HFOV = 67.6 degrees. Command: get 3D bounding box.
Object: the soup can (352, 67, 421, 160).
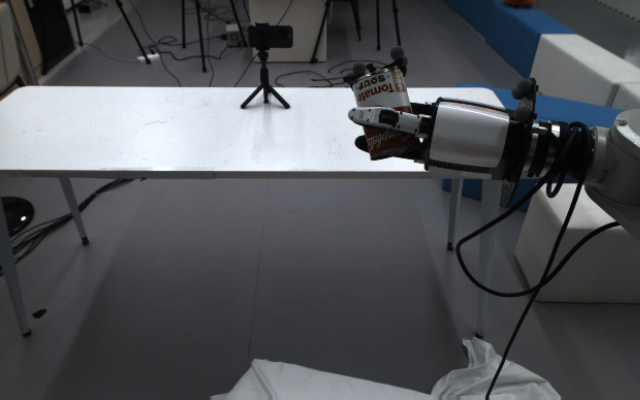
[{"bbox_3d":[0.086,-0.109,0.625,0.067,0.101,0.067,-14,-2,-1],"label":"soup can"}]
